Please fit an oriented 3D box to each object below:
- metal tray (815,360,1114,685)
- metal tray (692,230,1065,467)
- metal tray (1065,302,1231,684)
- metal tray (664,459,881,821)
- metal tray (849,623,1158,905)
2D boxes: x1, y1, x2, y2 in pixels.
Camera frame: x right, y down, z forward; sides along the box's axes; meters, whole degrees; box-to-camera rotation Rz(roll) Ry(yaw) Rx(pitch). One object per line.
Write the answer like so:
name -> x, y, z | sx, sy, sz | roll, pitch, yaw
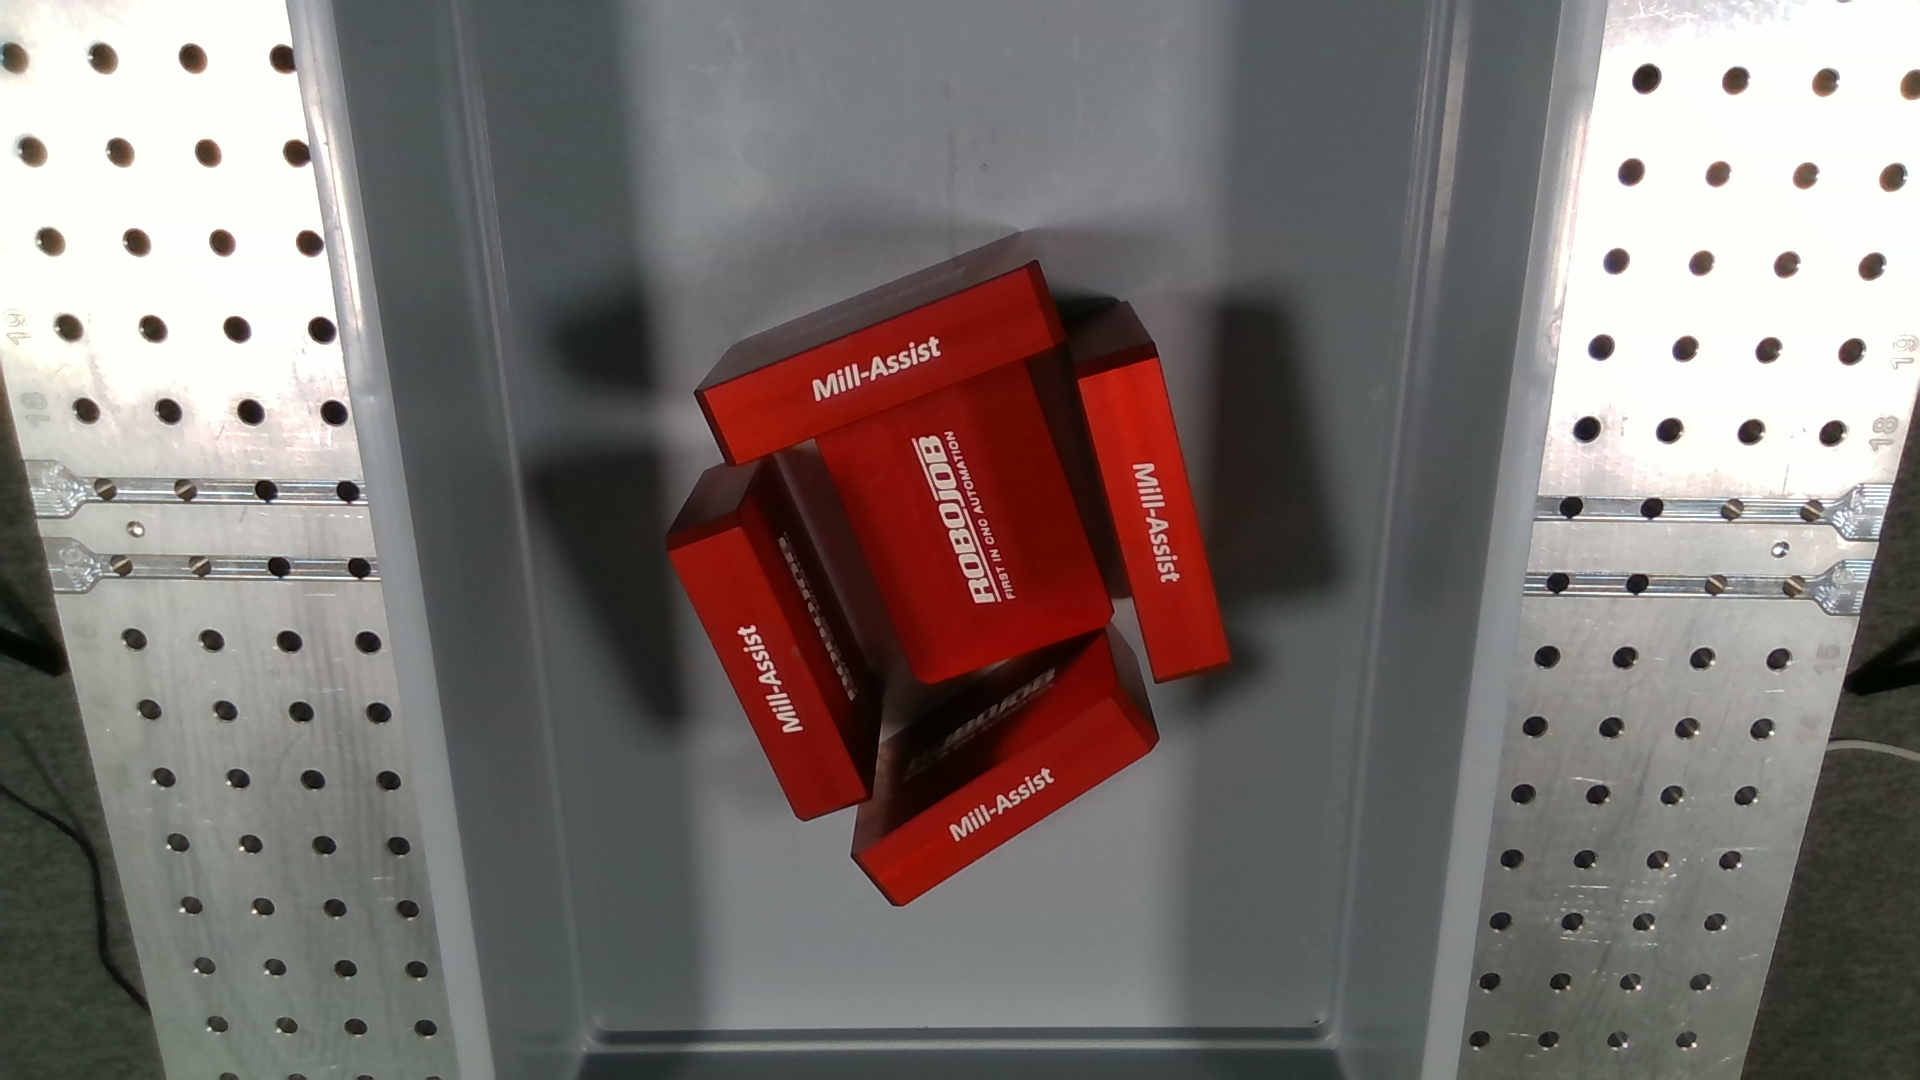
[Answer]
metal tray -> 0.002, -0.013, 0.575 | 0.090, 0.030, 0.130 | -19, 109, 7
metal tray -> -0.029, -0.074, 0.521 | 0.130, 0.090, 0.030 | -20, 109, 7
metal tray -> 0.071, -0.021, 0.540 | 0.030, 0.090, 0.130 | -15, 109, 5
metal tray -> -0.072, 0.037, 0.562 | 0.030, 0.090, 0.130 | -20, 109, 7
metal tray -> 0.017, 0.089, 0.582 | 0.130, 0.090, 0.030 | -34, 106, 12
